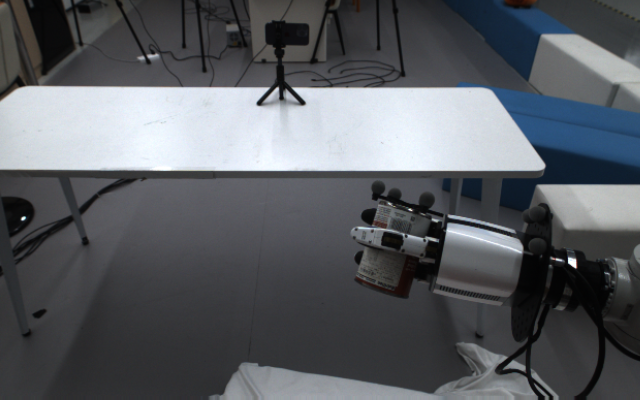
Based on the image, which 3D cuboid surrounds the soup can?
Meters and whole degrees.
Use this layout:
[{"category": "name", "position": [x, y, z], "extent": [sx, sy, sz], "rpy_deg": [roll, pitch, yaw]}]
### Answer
[{"category": "soup can", "position": [0.090, 0.058, 0.583], "extent": [0.067, 0.101, 0.067], "rpy_deg": [17, -1, 0]}]
